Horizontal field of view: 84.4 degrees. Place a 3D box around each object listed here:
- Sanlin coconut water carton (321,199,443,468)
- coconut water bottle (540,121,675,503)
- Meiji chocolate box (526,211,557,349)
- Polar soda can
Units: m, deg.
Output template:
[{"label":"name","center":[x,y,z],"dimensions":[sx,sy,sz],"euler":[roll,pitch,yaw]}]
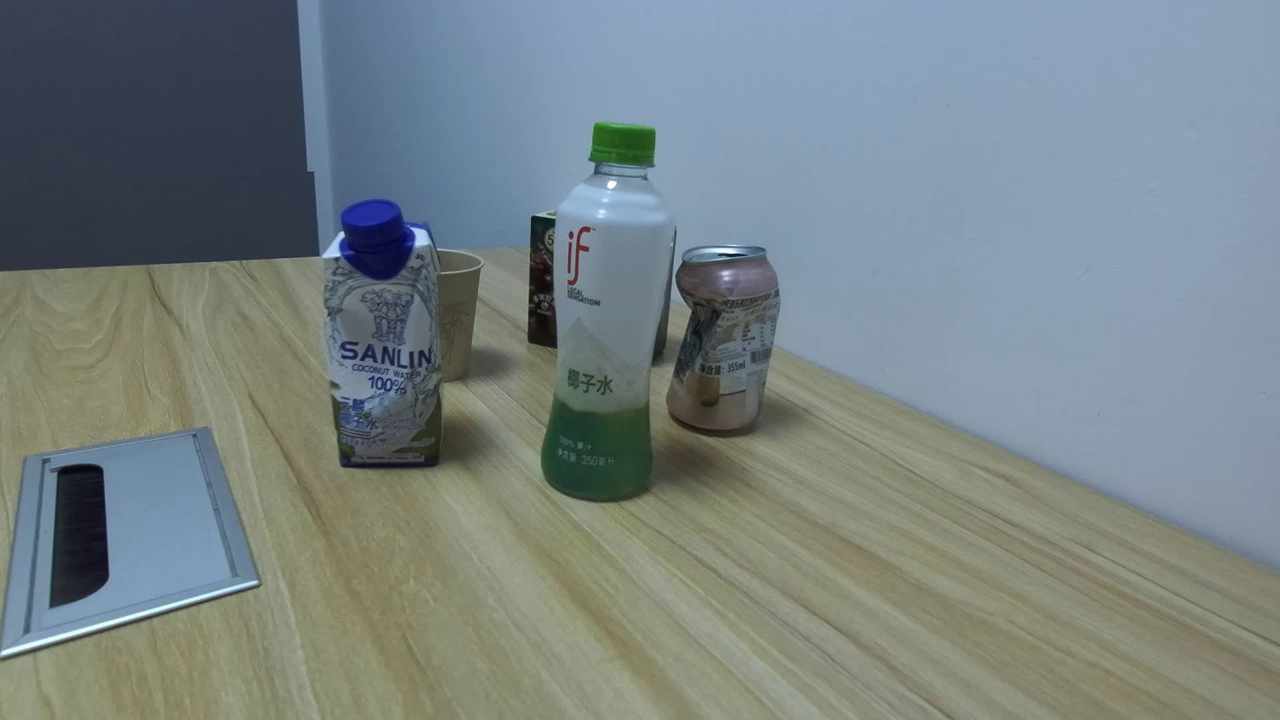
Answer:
[{"label":"Sanlin coconut water carton","center":[-0.140,-0.016,0.385],"dimensions":[0.061,0.143,0.069],"euler":[0,22,-11]},{"label":"coconut water bottle","center":[-0.015,-0.023,0.372],"dimensions":[0.063,0.188,0.063],"euler":[5,19,-1]},{"label":"Meiji chocolate box","center":[-0.032,-0.060,0.576],"dimensions":[0.110,0.109,0.056],"euler":[6,14,7]},{"label":"Polar soda can","center":[0.049,-0.015,0.469],"dimensions":[0.070,0.122,0.067],"euler":[20,29,36]}]
